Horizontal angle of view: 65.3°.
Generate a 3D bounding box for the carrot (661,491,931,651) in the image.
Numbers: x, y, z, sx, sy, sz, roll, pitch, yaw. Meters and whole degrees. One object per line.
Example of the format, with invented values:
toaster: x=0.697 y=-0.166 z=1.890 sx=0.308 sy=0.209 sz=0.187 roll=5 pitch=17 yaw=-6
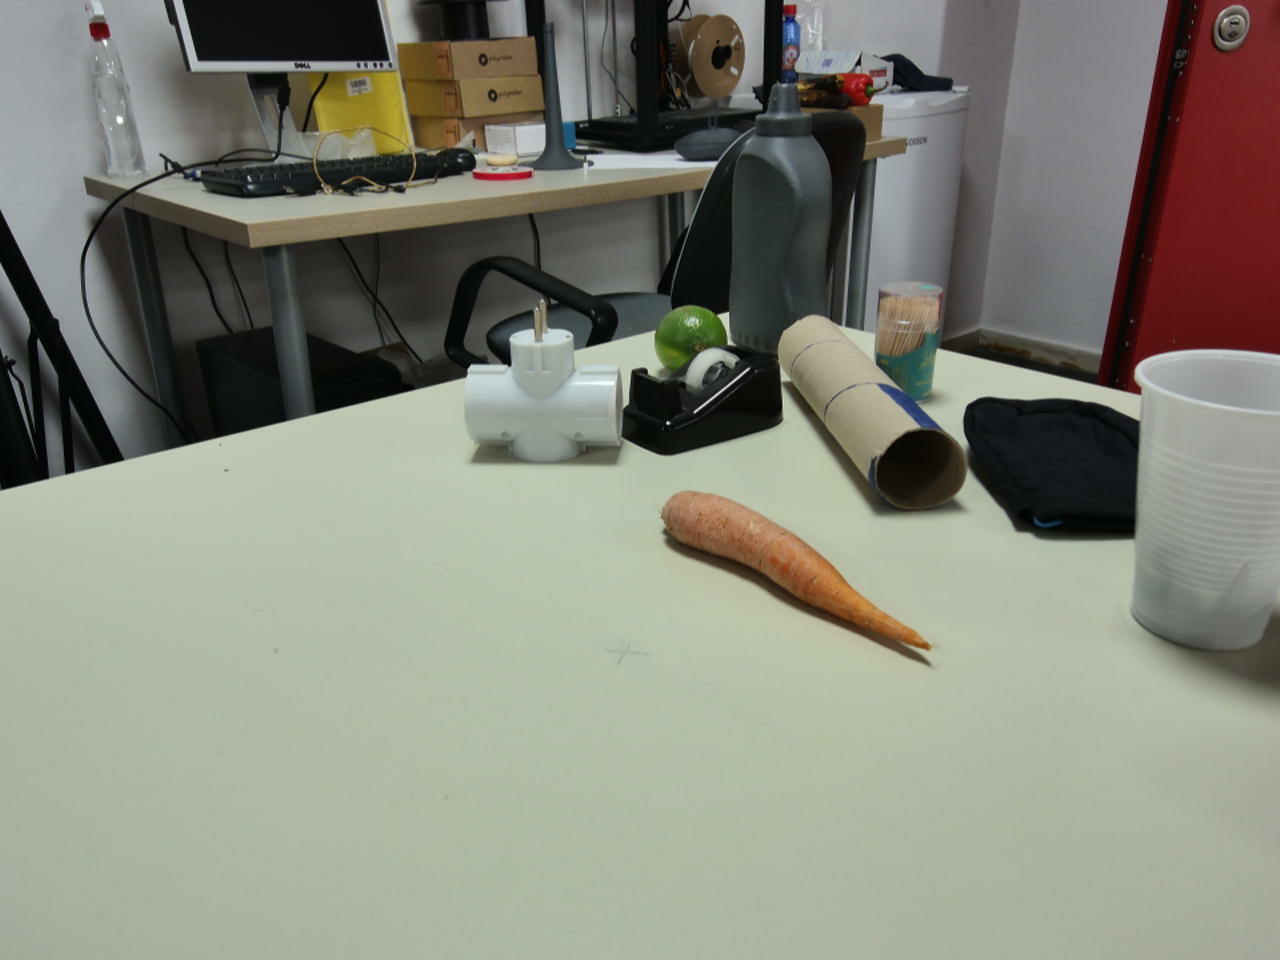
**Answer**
carrot: x=0.067 y=0.036 z=0.455 sx=0.031 sy=0.029 sz=0.163 roll=-16 pitch=28 yaw=-36
